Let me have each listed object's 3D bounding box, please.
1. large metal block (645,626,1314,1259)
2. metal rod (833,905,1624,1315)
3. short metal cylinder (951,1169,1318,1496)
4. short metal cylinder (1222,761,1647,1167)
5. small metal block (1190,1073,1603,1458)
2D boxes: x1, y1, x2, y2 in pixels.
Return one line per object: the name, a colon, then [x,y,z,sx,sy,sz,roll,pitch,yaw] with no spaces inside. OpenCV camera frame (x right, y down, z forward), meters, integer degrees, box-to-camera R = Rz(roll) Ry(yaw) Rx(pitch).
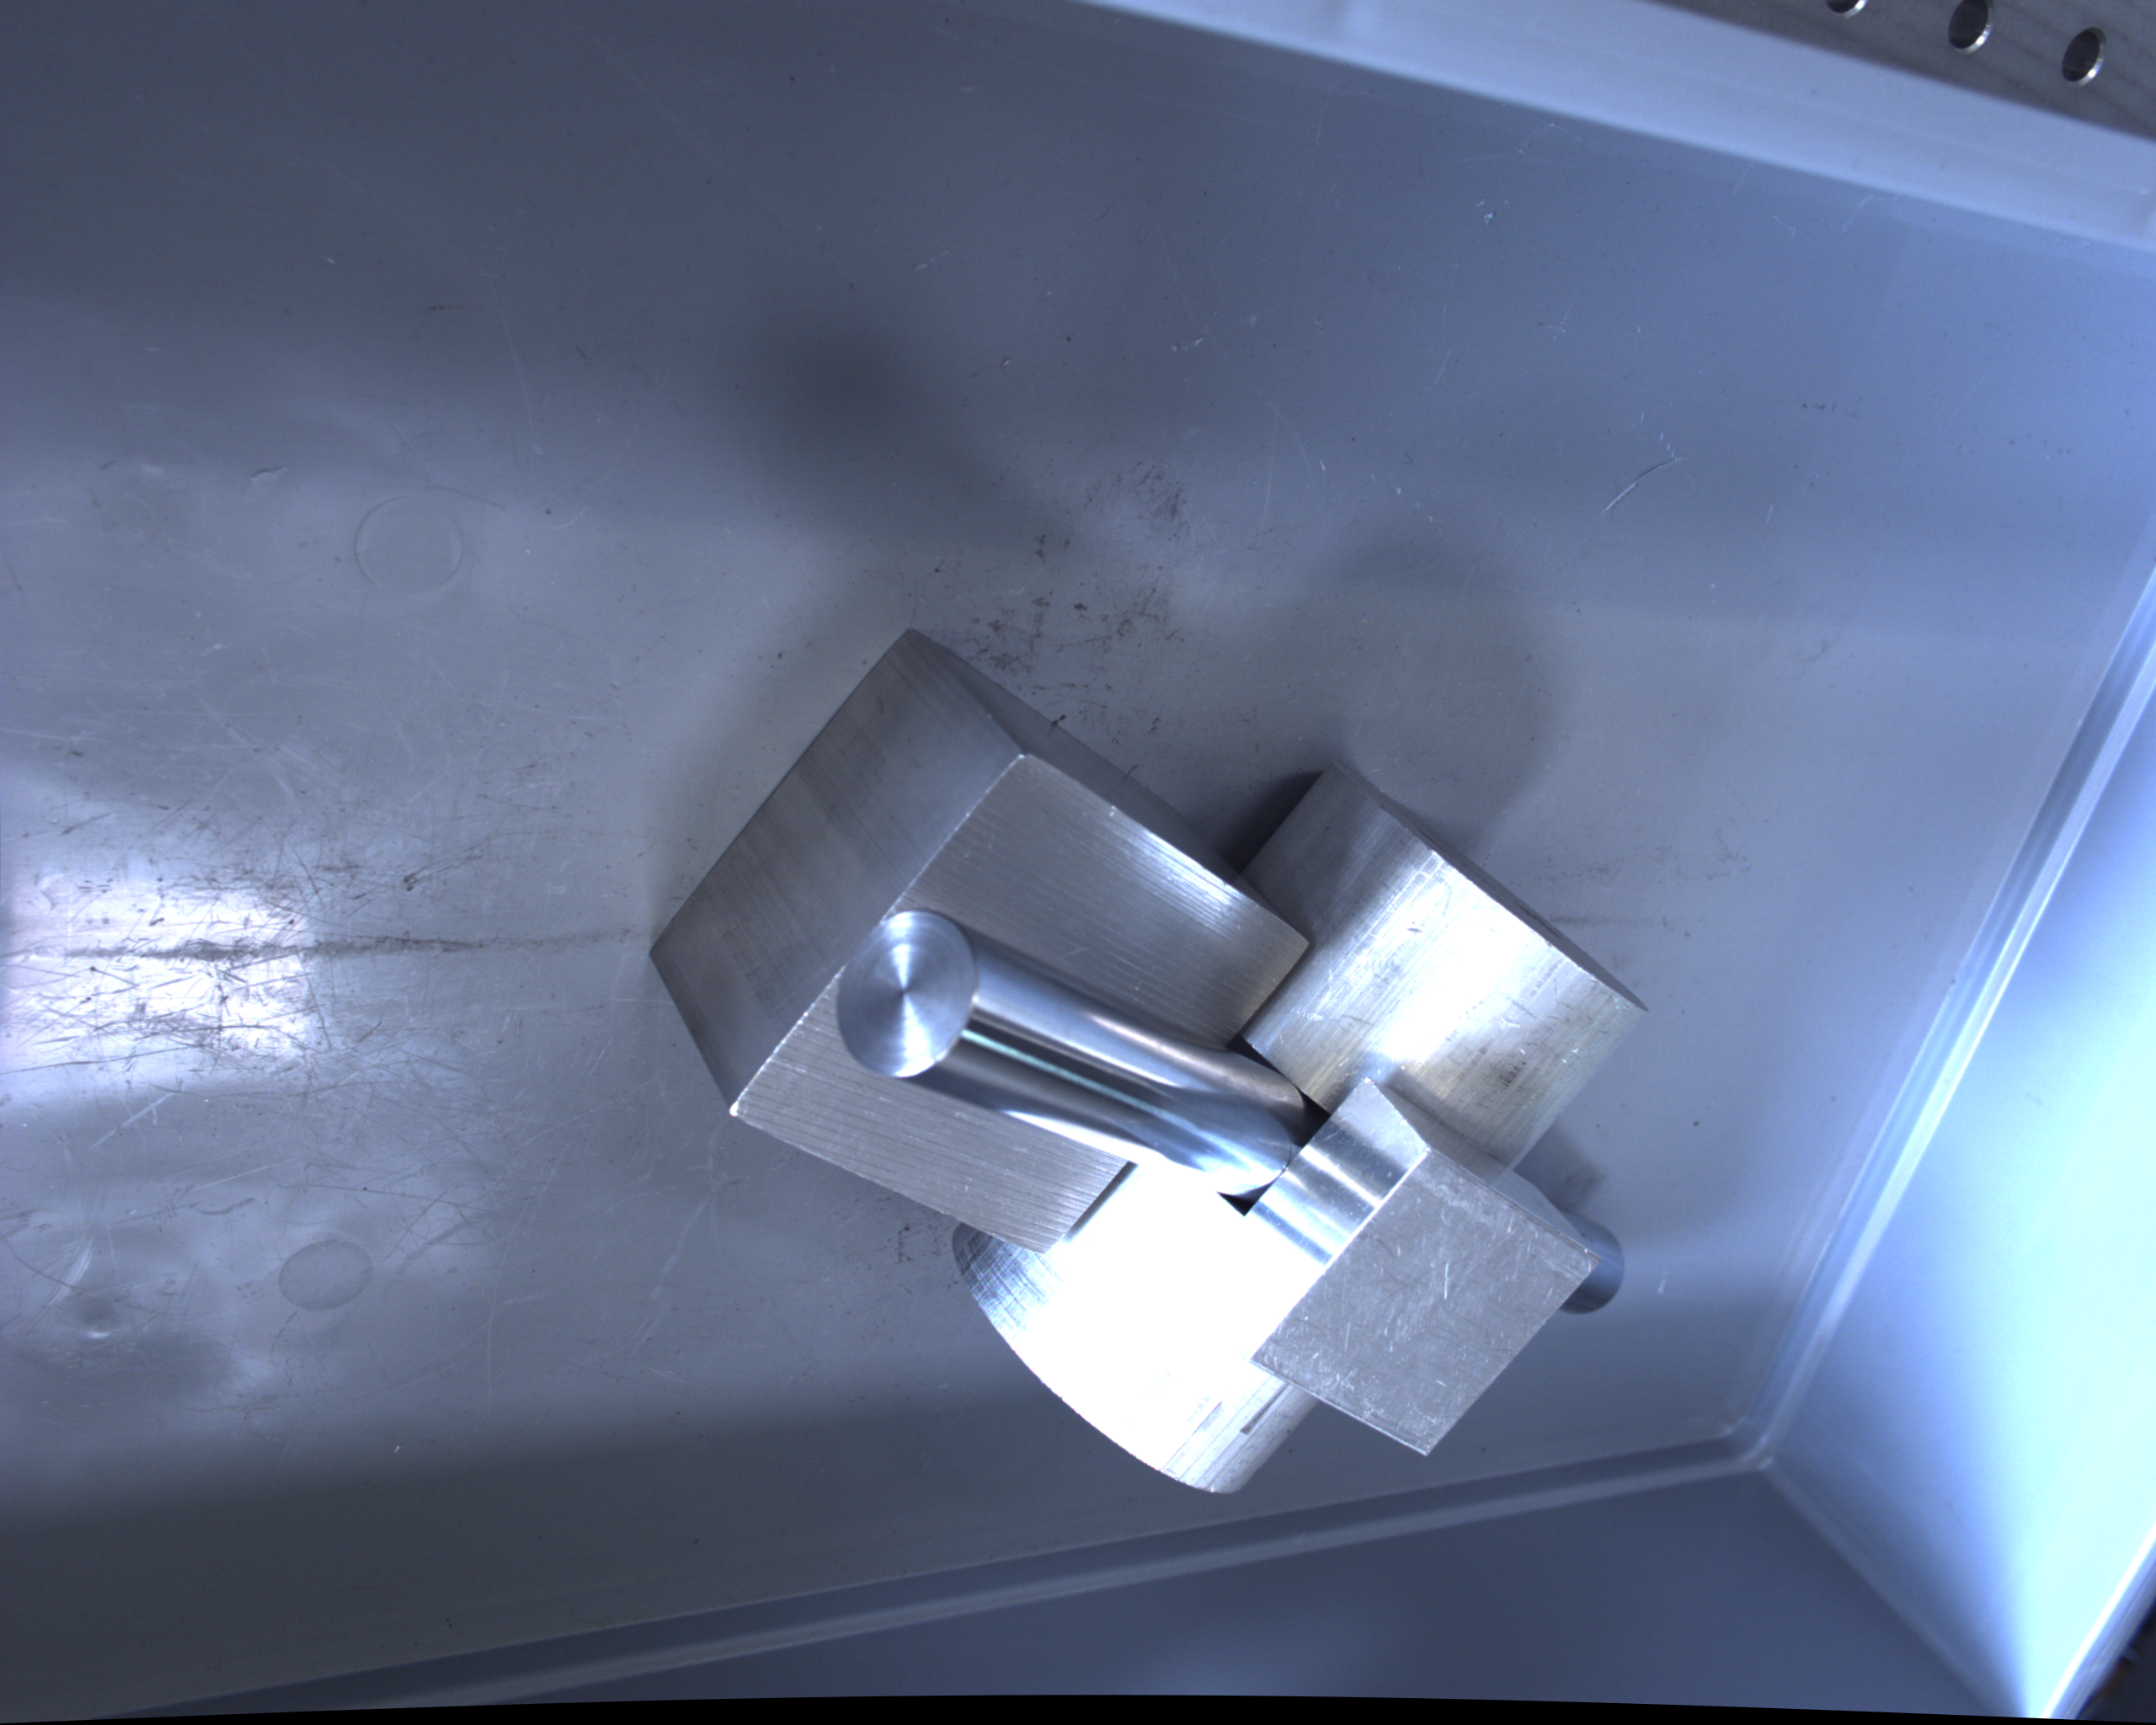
large metal block: [-0.018,0.017,0.388,0.080,0.050,0.080,33,100,-39]
metal rod: [0.052,0.062,0.423,0.025,0.025,0.301,-50,144,7]
short metal cylinder: [0.021,0.084,0.434,0.080,0.080,0.050,34,99,-39]
short metal cylinder: [0.067,0.023,0.423,0.080,0.080,0.050,31,101,-38]
small metal block: [0.058,0.075,0.383,0.050,0.025,0.050,35,99,-30]
